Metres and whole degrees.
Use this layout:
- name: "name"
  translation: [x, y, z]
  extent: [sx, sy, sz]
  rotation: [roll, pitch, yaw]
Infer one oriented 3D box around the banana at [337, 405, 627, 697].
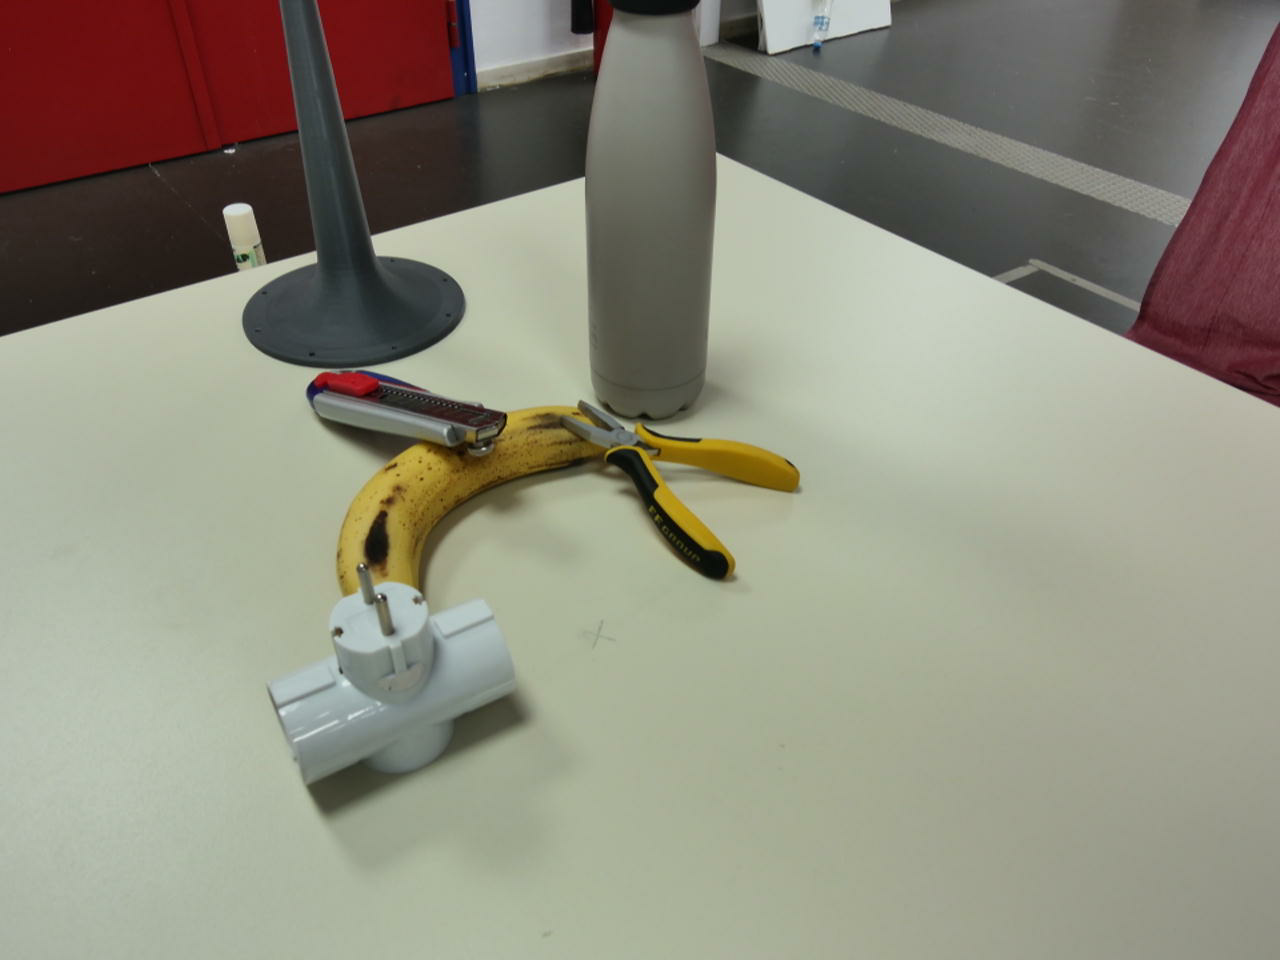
- name: "banana"
  translation: [-0.087, 0.012, 0.508]
  extent: [0.097, 0.038, 0.186]
  rotation: [15, 40, 18]
